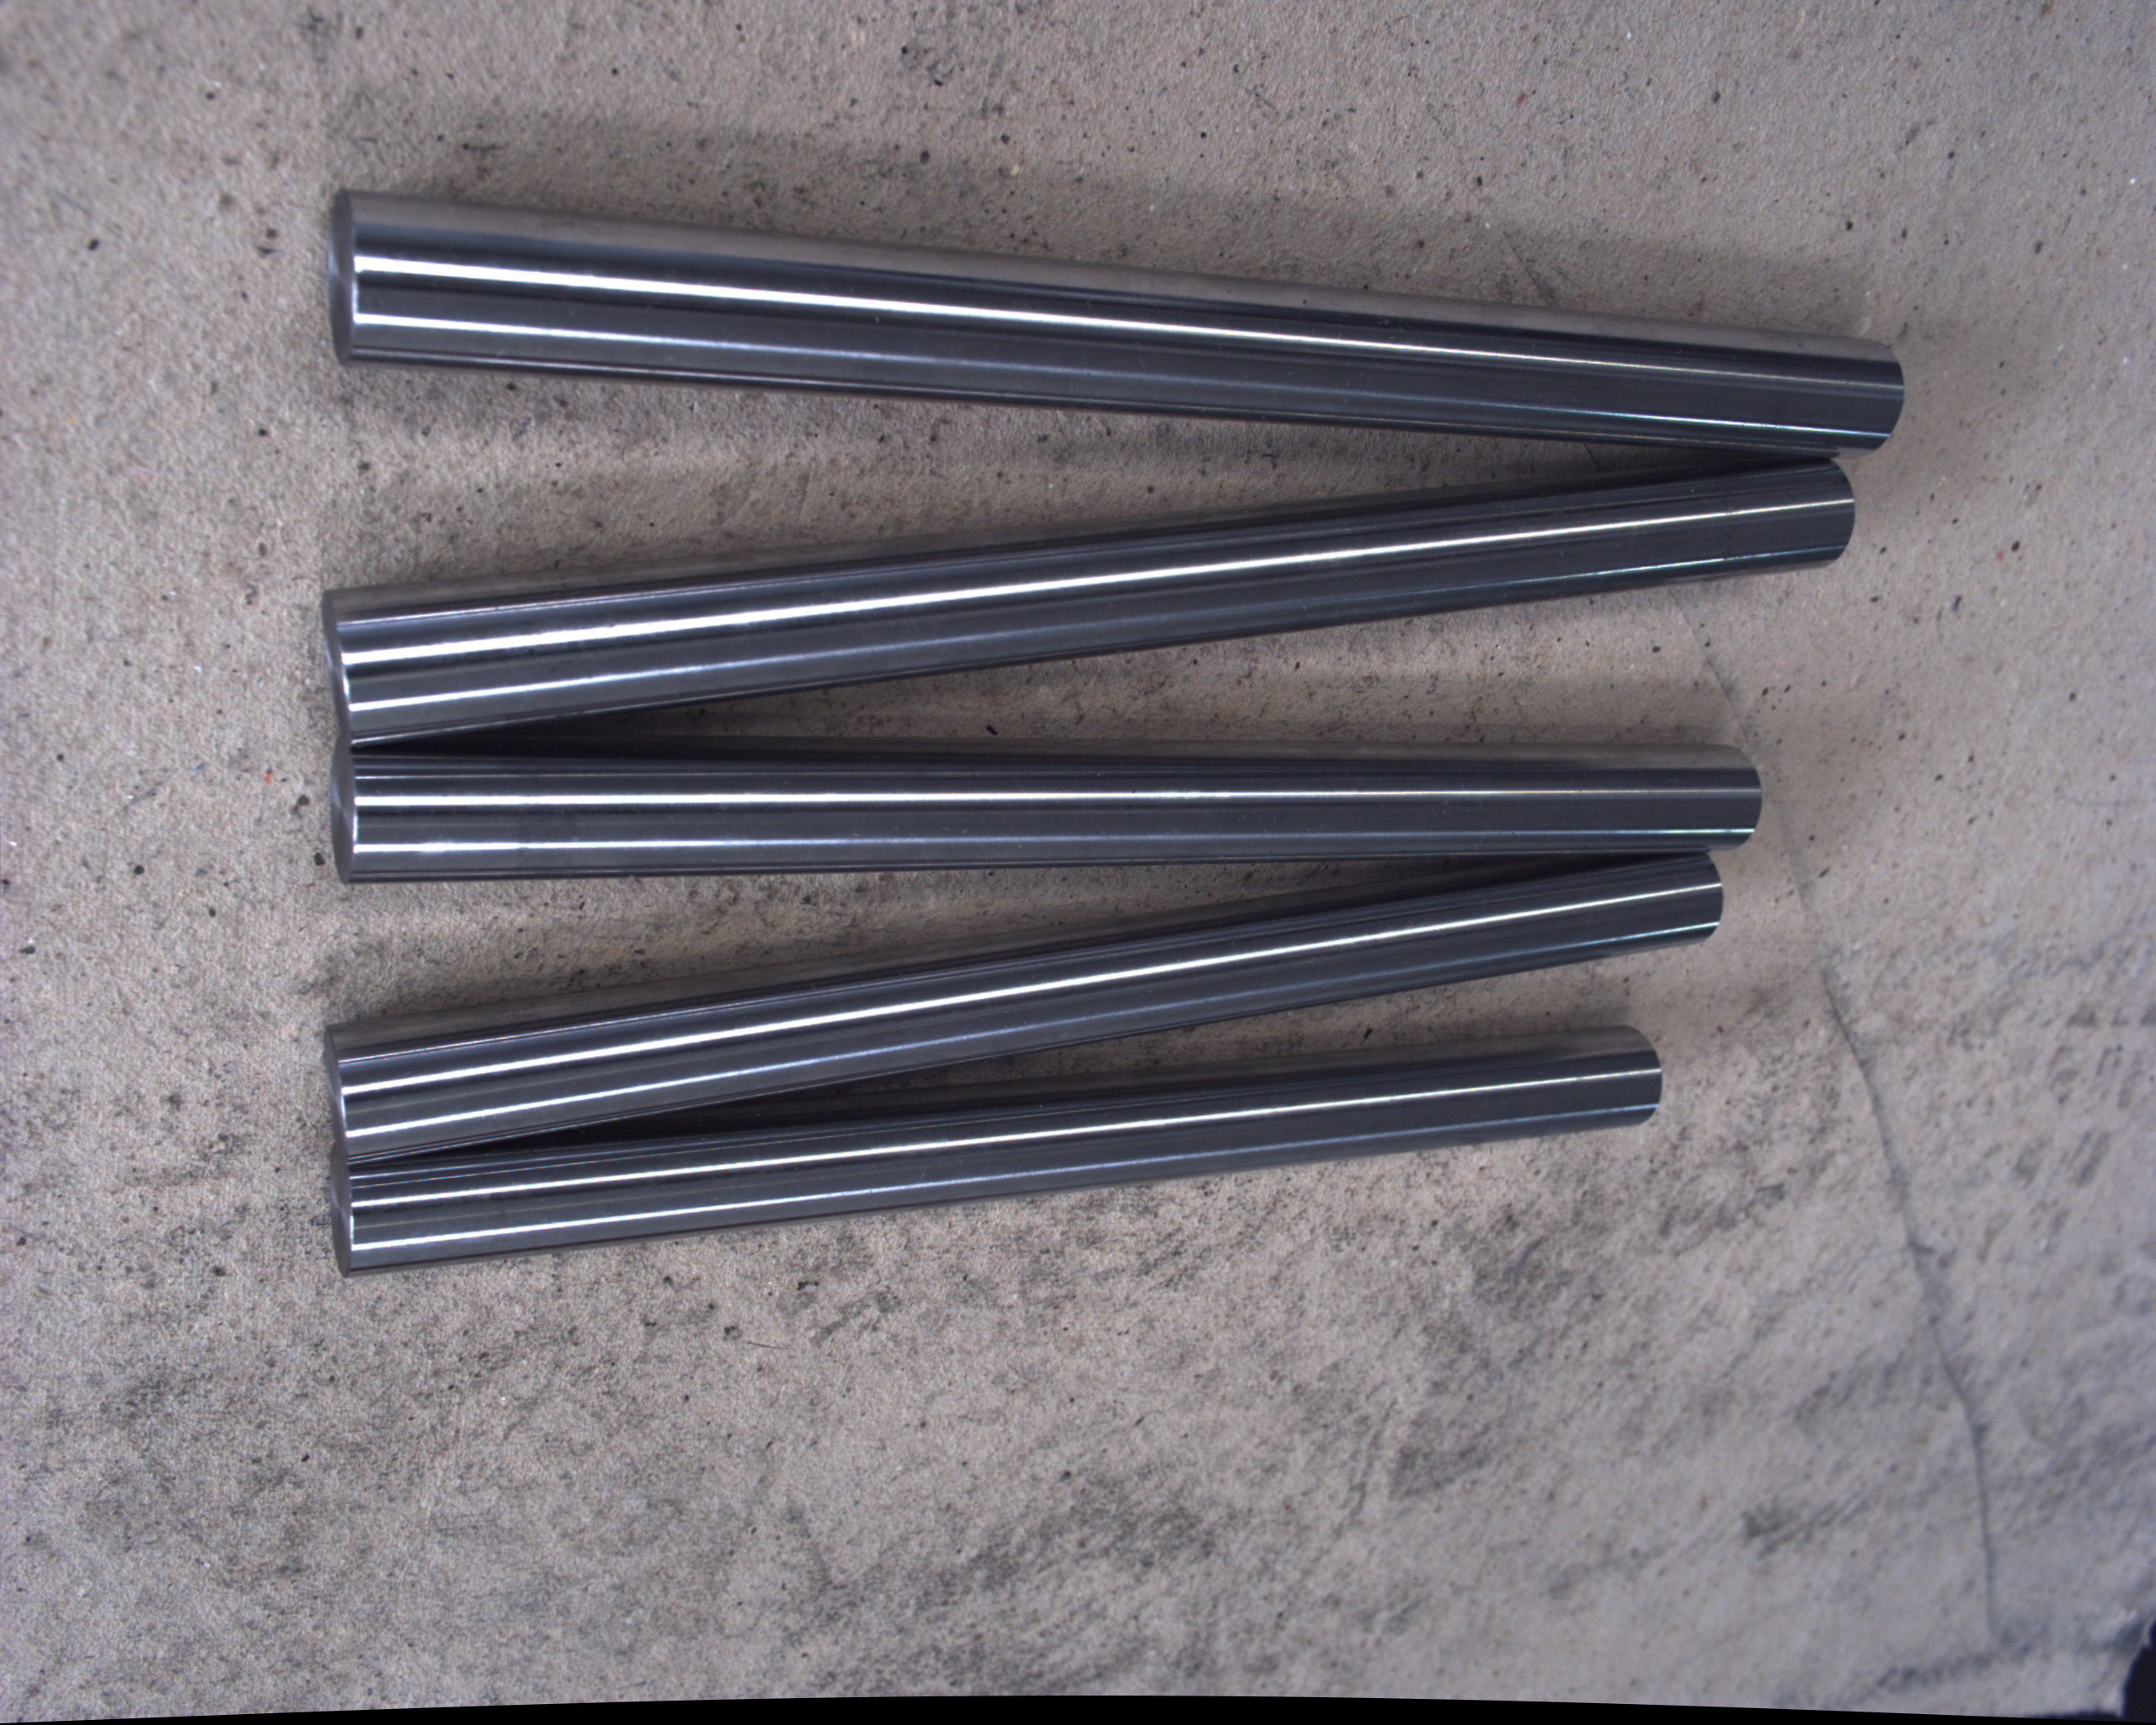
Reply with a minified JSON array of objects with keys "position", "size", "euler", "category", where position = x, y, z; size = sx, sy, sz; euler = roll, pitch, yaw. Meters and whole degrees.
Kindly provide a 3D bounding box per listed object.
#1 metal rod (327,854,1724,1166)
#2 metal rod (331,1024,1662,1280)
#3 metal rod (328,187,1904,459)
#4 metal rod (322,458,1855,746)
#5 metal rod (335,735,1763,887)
[{"position":[0.007,0.024,0.427],"size":[0.303,0.025,0.025],"euler":[-7,122,-25],"category":"metal rod"},{"position":[0.002,0.057,0.445],"size":[0.303,0.025,0.025],"euler":[-2,120,-28],"category":"metal rod"},{"position":[0.029,-0.090,0.368],"size":[0.303,0.025,0.025],"euler":[-3,120,-27],"category":"metal rod"},{"position":[0.021,-0.053,0.387],"size":[0.303,0.025,0.025],"euler":[-9,123,-24],"category":"metal rod"},{"position":[0.015,-0.012,0.409],"size":[0.303,0.025,0.025],"euler":[-1,119,-28],"category":"metal rod"}]
